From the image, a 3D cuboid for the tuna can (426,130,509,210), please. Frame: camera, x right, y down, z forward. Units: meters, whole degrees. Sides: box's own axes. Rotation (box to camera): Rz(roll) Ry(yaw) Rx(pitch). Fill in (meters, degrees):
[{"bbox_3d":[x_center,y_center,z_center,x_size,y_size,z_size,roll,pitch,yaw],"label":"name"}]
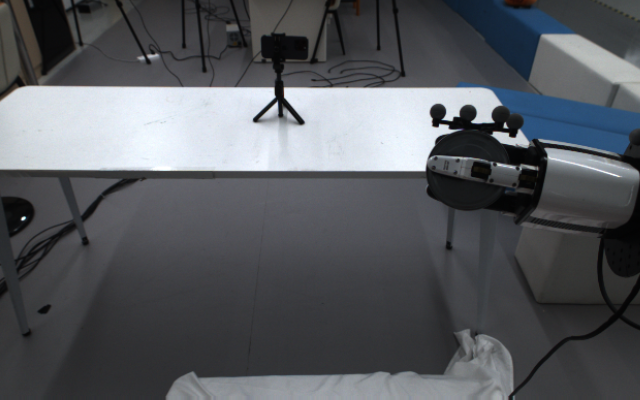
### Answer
[{"bbox_3d":[0.160,-0.036,0.523,0.085,0.085,0.034,10,3,12],"label":"tuna can"}]
